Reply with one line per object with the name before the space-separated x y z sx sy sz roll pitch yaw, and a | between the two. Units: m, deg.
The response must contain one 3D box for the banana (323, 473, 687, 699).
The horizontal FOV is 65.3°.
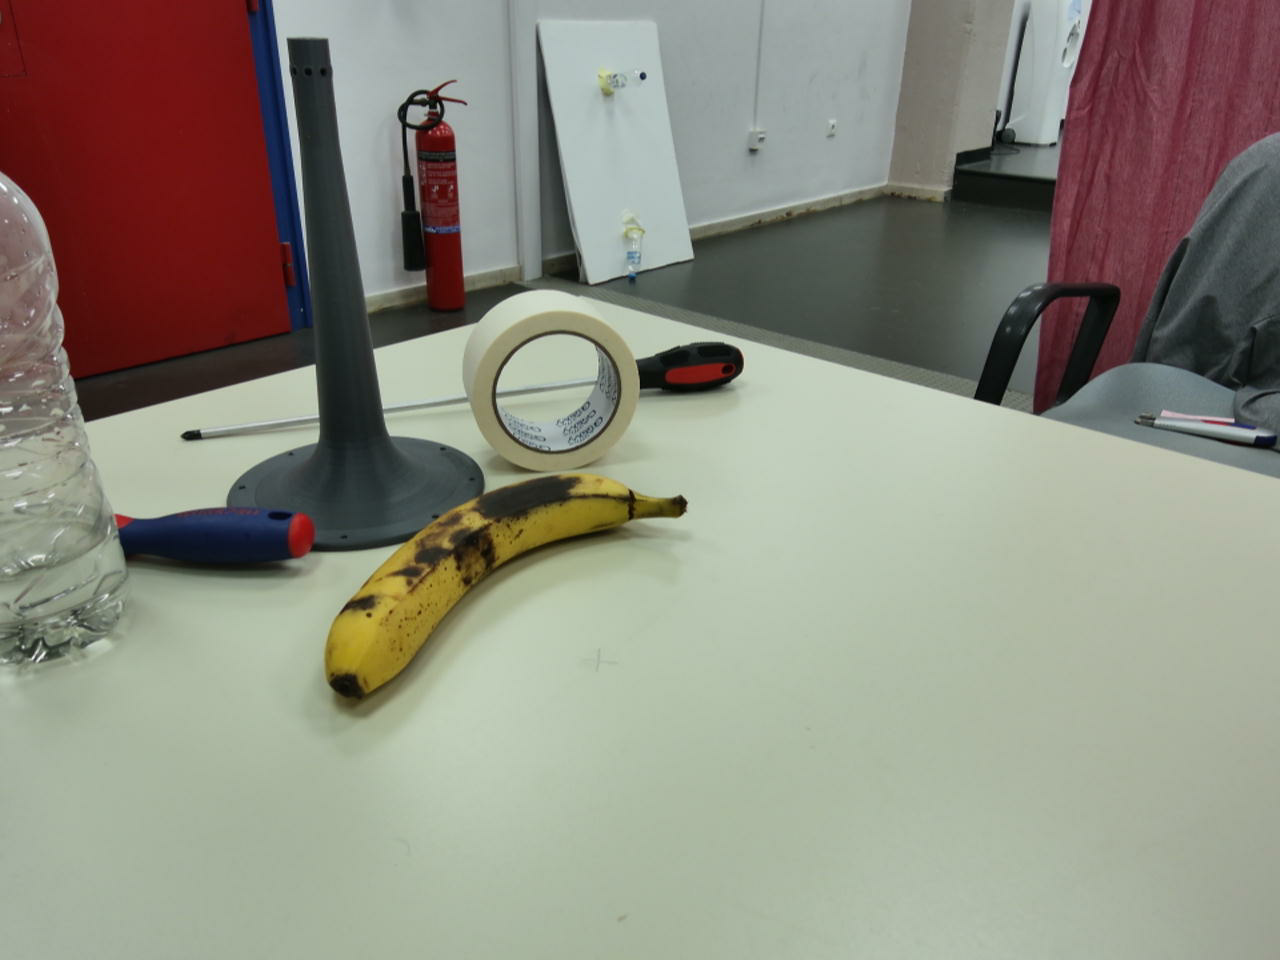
banana | -0.076 0.038 0.498 0.084 0.037 0.222 21 30 36
